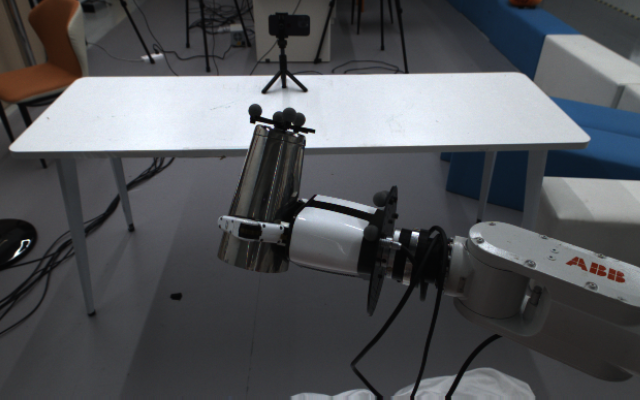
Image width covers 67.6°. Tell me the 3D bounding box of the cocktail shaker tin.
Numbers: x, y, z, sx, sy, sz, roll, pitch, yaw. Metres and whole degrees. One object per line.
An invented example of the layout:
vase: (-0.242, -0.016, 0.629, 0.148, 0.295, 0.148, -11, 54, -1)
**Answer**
cocktail shaker tin: (-0.067, -0.003, 0.613, 0.093, 0.170, 0.093, 13, 4, -1)
